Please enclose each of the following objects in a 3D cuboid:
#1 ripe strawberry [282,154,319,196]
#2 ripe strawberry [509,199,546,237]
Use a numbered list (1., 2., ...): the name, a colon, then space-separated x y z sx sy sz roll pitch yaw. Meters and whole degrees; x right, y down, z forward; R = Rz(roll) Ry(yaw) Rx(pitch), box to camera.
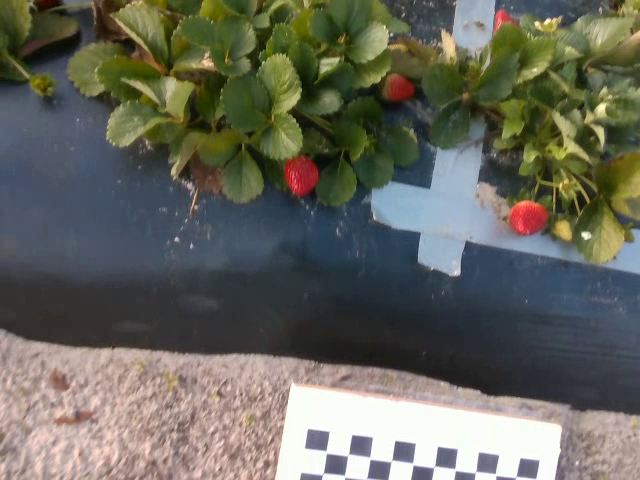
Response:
1. ripe strawberry: -0.010 -0.029 0.338 0.018 0.023 0.021 2 -25 9
2. ripe strawberry: 0.106 -0.009 0.359 0.023 0.026 0.021 19 -39 16
